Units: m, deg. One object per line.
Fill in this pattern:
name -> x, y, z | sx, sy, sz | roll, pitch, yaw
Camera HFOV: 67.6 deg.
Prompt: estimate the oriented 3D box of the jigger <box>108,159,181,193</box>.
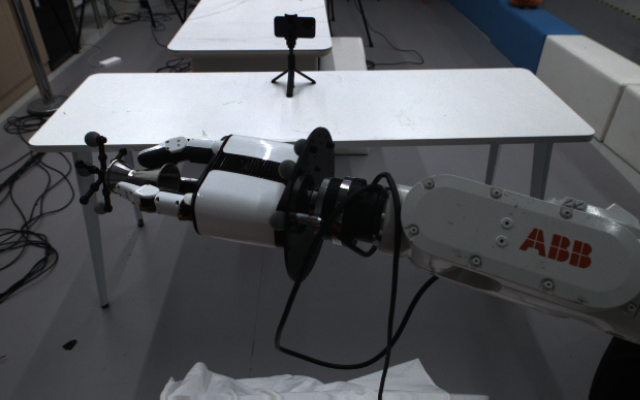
jigger -> -0.193, -0.025, 0.541 | 0.071, 0.043, 0.043 | 6, 35, 15
